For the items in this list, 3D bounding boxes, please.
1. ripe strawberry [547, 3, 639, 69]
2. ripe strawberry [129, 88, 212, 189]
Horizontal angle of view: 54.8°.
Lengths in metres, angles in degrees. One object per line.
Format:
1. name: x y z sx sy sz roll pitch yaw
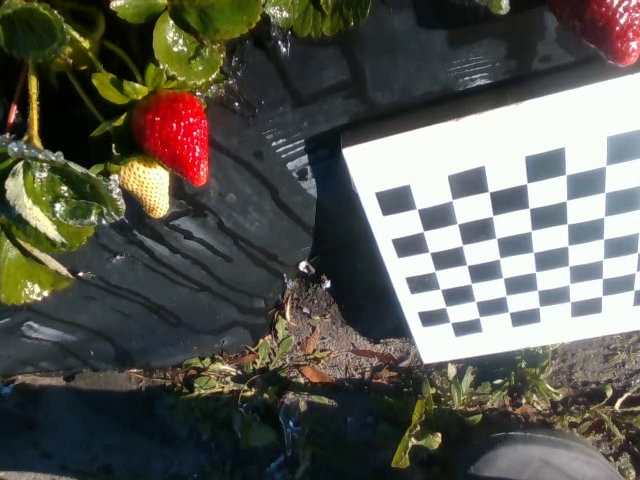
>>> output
1. ripe strawberry: 0.135 -0.106 0.287 0.048 0.061 0.044 -17 14 18
2. ripe strawberry: -0.077 -0.055 0.353 0.042 0.061 0.046 -23 2 24
